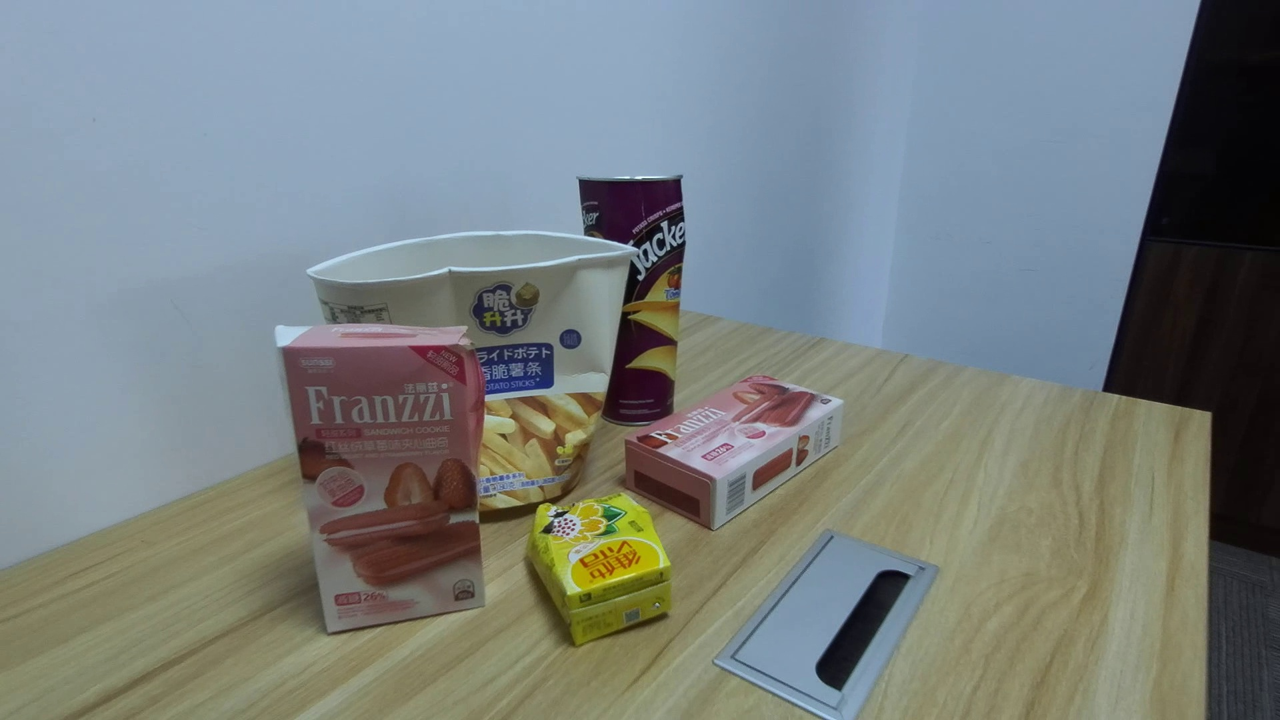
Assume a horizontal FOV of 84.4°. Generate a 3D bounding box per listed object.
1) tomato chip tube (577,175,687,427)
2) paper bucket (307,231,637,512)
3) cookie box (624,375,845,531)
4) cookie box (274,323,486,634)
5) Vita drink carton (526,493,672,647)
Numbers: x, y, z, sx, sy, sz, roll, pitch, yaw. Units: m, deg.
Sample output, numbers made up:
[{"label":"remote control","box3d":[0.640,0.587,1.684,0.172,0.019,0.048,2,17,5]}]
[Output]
[{"label":"tomato chip tube","box3d":[-0.005,-0.057,0.682,0.076,0.235,0.077,-17,24,-39]},{"label":"paper bucket","box3d":[-0.118,0.006,0.569,0.147,0.199,0.219,19,29,40]},{"label":"cookie box","box3d":[0.084,0.070,0.602,0.095,0.048,0.185,18,28,40]},{"label":"cookie box","box3d":[-0.147,0.070,0.427,0.119,0.184,0.055,-4,22,-9]},{"label":"Vita drink carton","box3d":[-0.027,0.130,0.461,0.087,0.042,0.108,-14,20,-13]}]
